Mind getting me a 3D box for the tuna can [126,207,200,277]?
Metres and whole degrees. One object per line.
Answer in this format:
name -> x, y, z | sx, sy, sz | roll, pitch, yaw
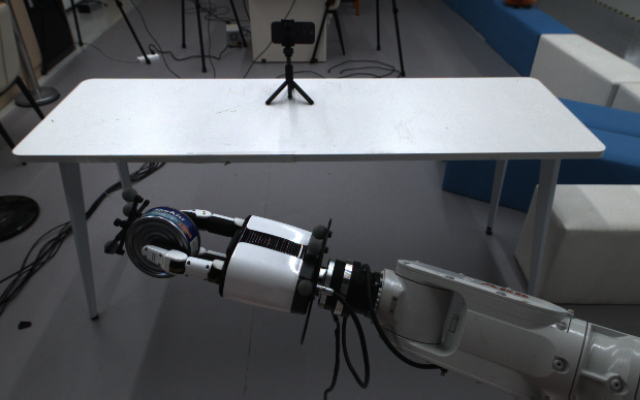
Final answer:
tuna can -> -0.193, 0.053, 0.600 | 0.085, 0.085, 0.034 | 6, 20, 6
